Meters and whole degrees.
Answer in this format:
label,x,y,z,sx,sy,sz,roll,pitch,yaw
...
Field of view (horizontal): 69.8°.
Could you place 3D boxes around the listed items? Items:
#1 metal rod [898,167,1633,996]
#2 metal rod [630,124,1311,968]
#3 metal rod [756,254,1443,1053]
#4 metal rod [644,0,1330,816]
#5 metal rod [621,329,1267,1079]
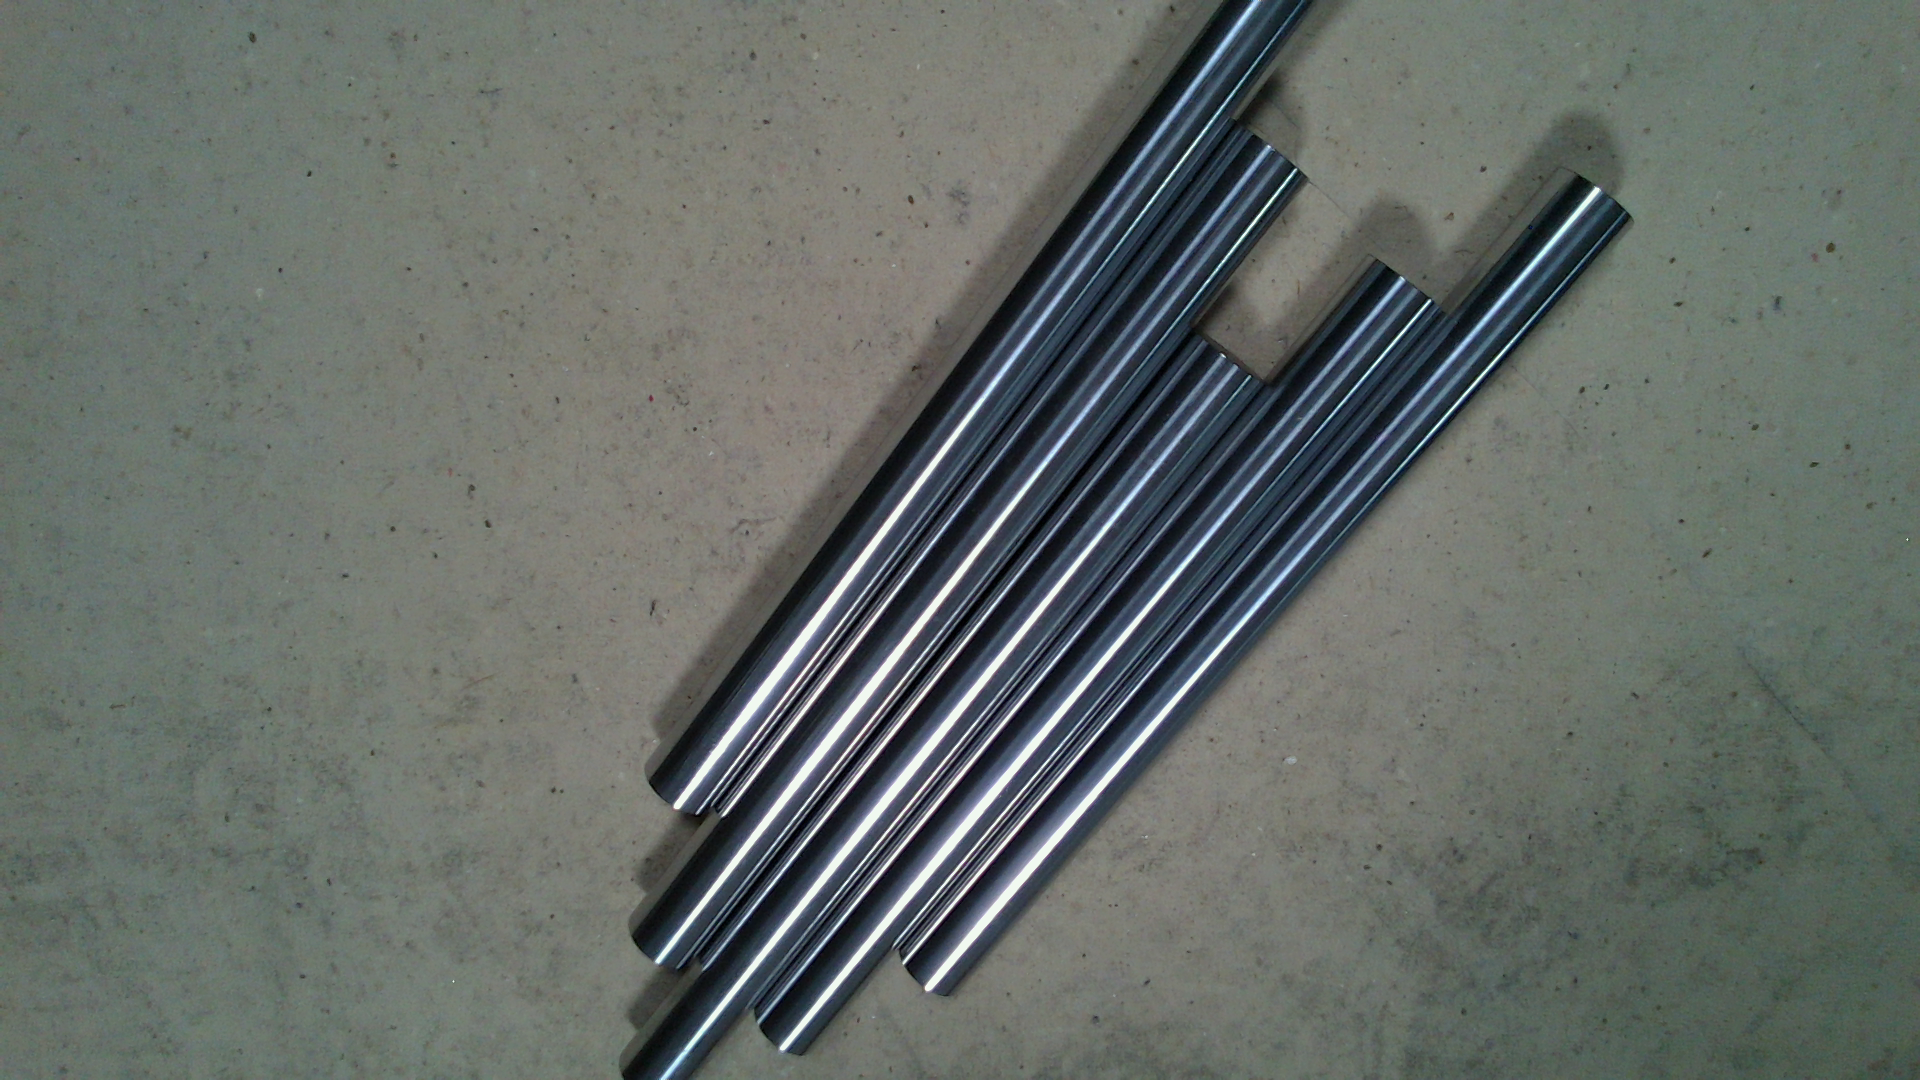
label,x,y,z,sx,sy,sz,roll,pitch,yaw
metal rod,0.078,0.024,0.403,0.025,0.025,0.300,34,107,-12
metal rod,-0.007,0.013,0.399,0.025,0.025,0.300,34,106,-12
metal rod,0.031,0.045,0.410,0.025,0.025,0.300,34,107,-12
metal rod,0.002,-0.038,0.380,0.025,0.025,0.300,34,107,-12
metal rod,-0.014,0.063,0.417,0.025,0.025,0.300,34,106,-12
